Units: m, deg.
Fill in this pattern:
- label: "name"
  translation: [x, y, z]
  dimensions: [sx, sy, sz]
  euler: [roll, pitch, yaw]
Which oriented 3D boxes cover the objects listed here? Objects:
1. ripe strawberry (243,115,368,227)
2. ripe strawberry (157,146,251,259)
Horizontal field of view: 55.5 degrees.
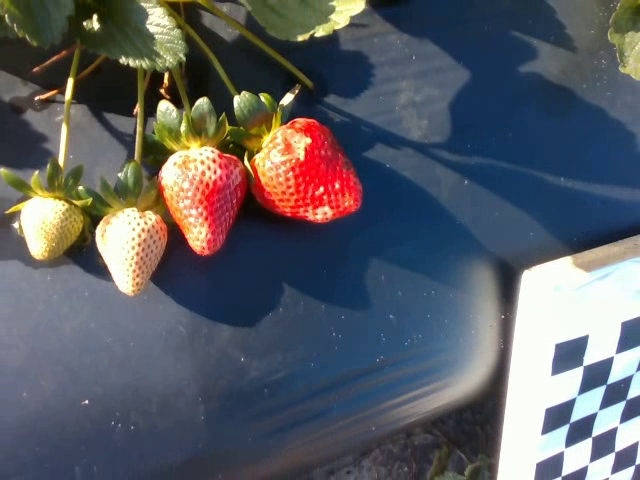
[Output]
- label: "ripe strawberry"
  translation: [-0.002, -0.030, 0.289]
  dimensions: [0.067, 0.057, 0.051]
  euler: [37, 9, 19]
- label: "ripe strawberry"
  translation: [-0.053, -0.018, 0.276]
  dimensions: [0.050, 0.061, 0.043]
  euler: [9, -24, -32]
